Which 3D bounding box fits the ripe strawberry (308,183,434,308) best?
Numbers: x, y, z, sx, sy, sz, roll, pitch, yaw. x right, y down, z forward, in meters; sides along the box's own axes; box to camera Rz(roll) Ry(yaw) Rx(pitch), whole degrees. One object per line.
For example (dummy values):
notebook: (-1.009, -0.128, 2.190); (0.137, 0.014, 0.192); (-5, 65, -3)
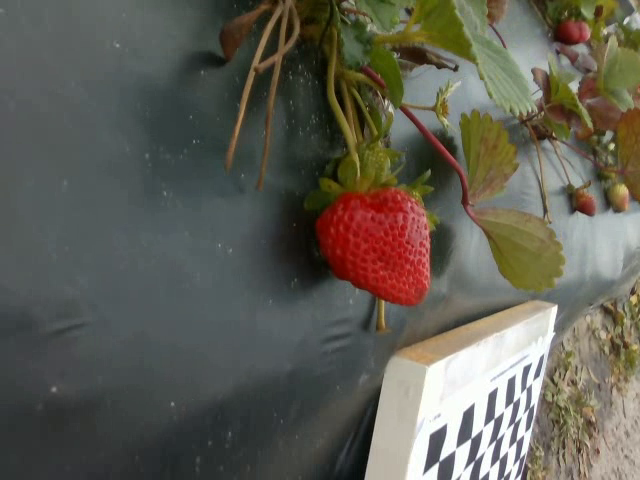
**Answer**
ripe strawberry: (0.008, 0.001, 0.071); (0.014, 0.017, 0.018); (-34, -13, 13)
